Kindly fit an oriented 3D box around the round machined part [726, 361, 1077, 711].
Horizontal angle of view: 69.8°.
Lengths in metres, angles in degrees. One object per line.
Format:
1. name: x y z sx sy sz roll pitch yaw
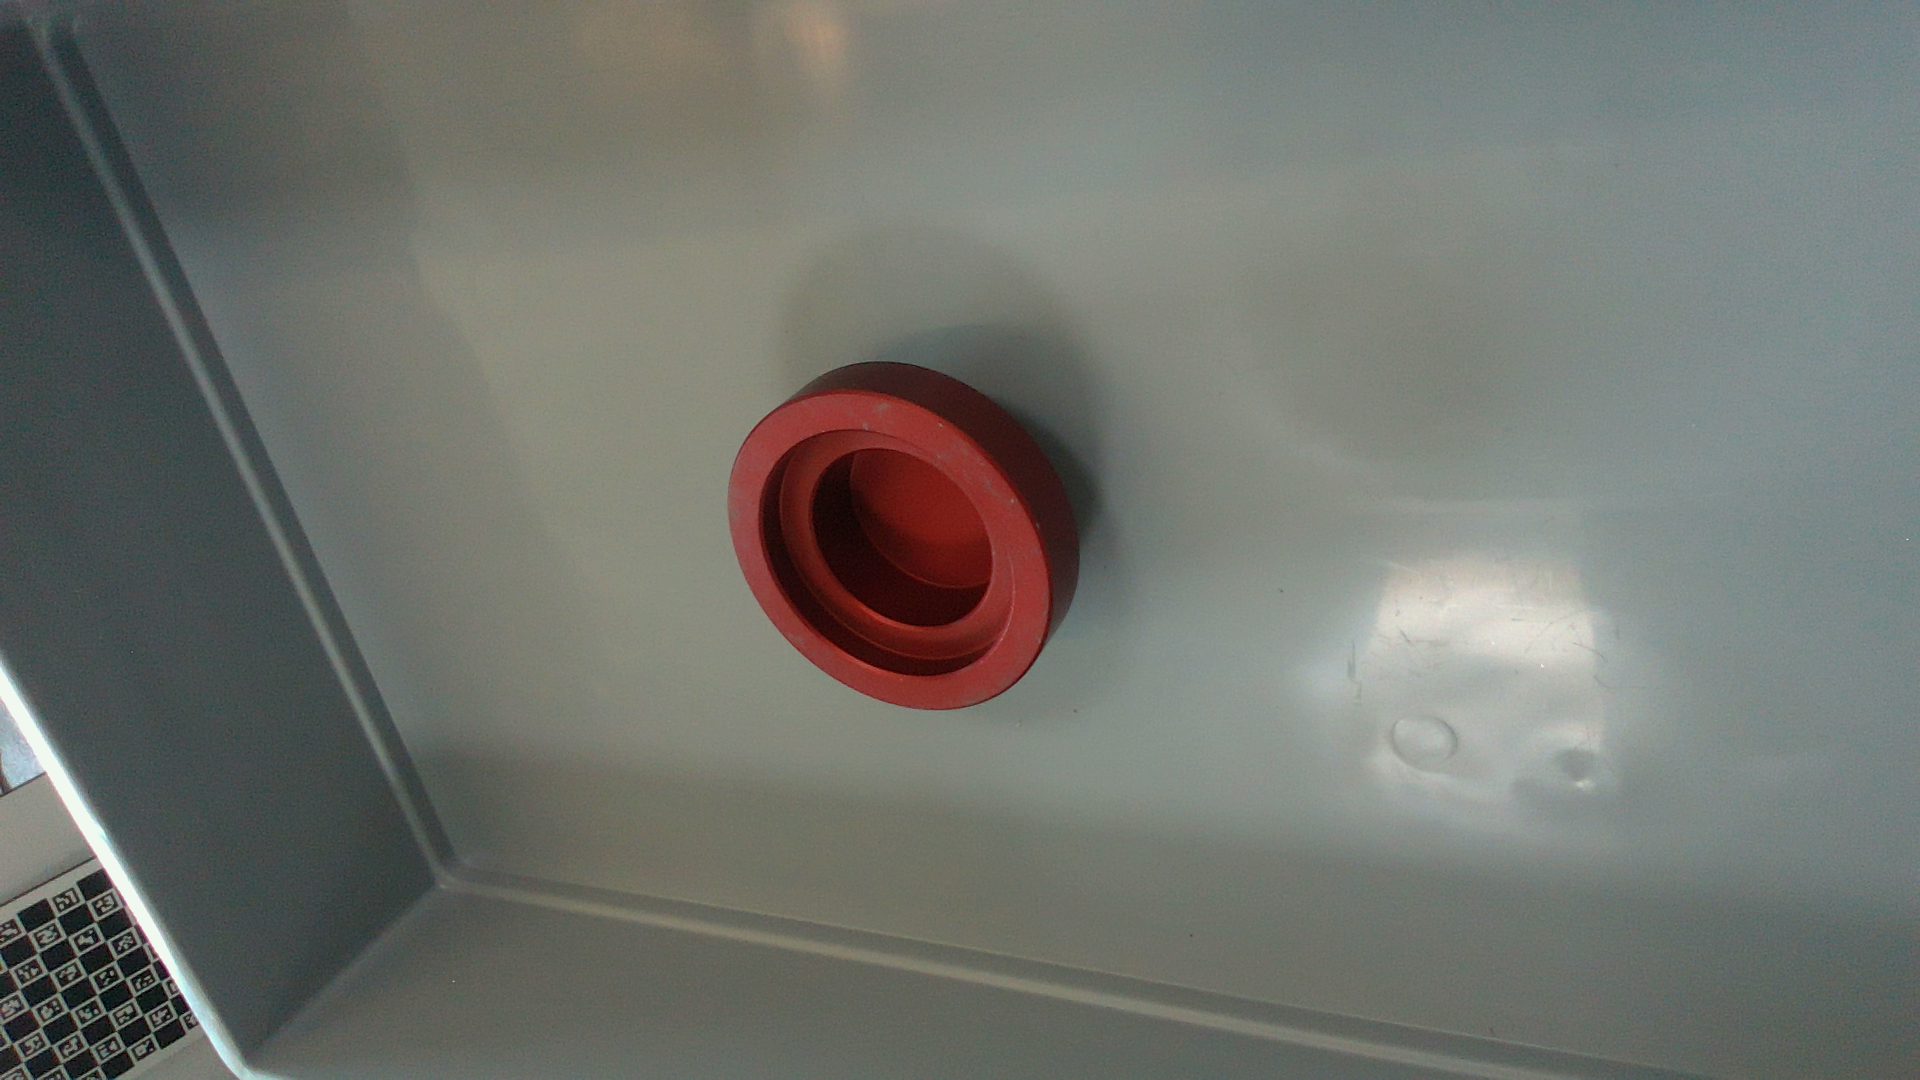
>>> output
1. round machined part: -0.012 -0.005 0.382 0.098 0.042 0.098 13 124 21
